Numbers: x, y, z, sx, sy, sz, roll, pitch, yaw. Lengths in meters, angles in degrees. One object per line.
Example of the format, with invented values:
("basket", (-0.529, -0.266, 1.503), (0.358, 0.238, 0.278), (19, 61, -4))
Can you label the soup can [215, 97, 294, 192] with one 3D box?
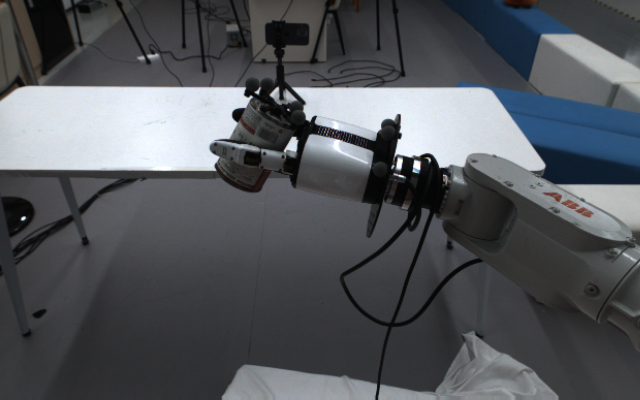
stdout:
("soup can", (-0.079, -0.068, 0.609), (0.067, 0.101, 0.067), (28, 22, -12))
